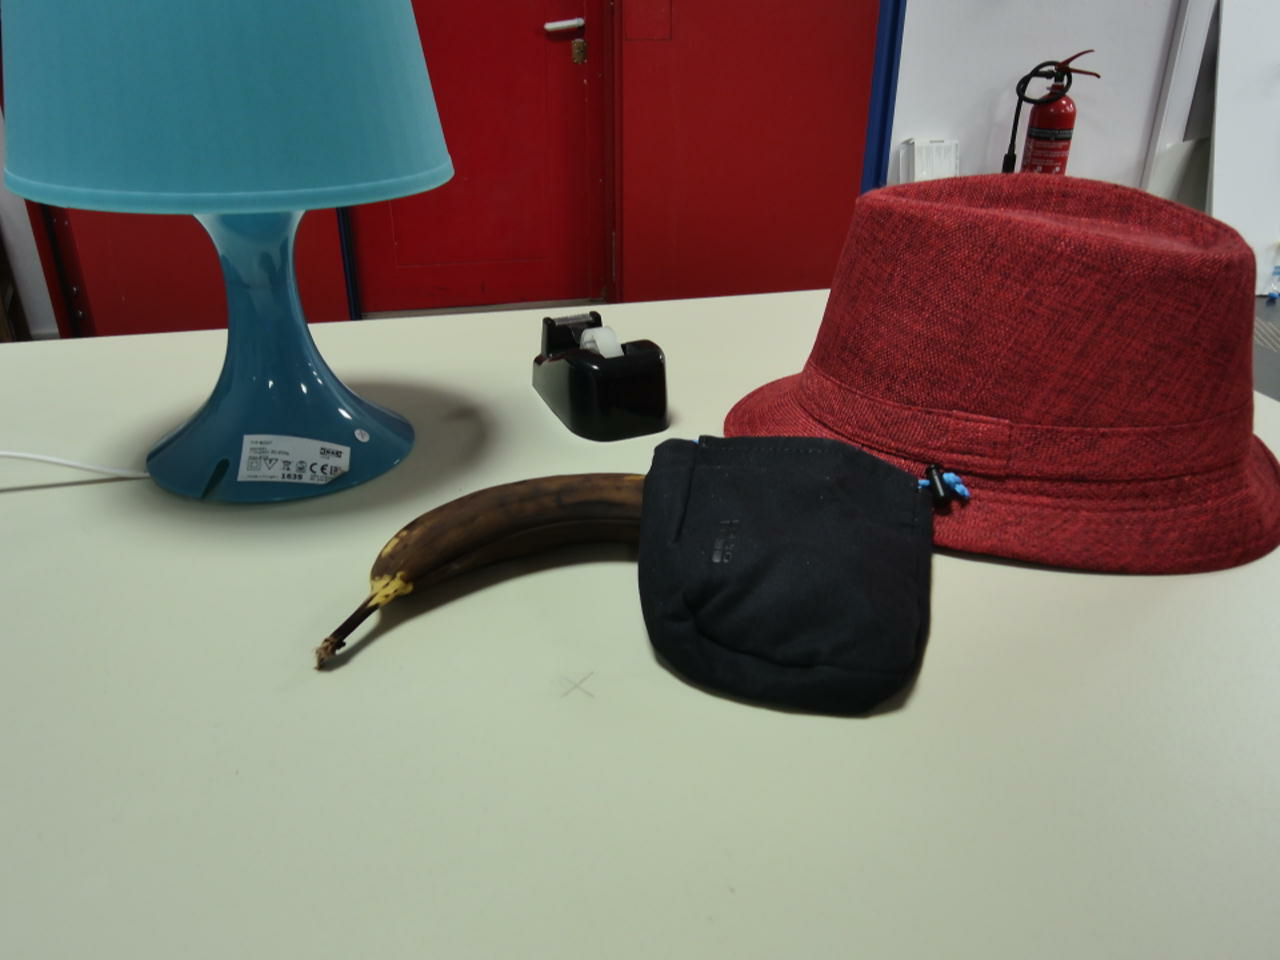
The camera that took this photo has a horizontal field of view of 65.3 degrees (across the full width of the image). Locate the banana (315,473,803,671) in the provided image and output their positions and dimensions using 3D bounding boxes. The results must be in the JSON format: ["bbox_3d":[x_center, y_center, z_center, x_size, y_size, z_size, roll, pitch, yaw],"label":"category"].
[{"bbox_3d":[-0.033,0.025,0.406,0.188,0.034,0.091,-6,25,-11],"label":"banana"}]
